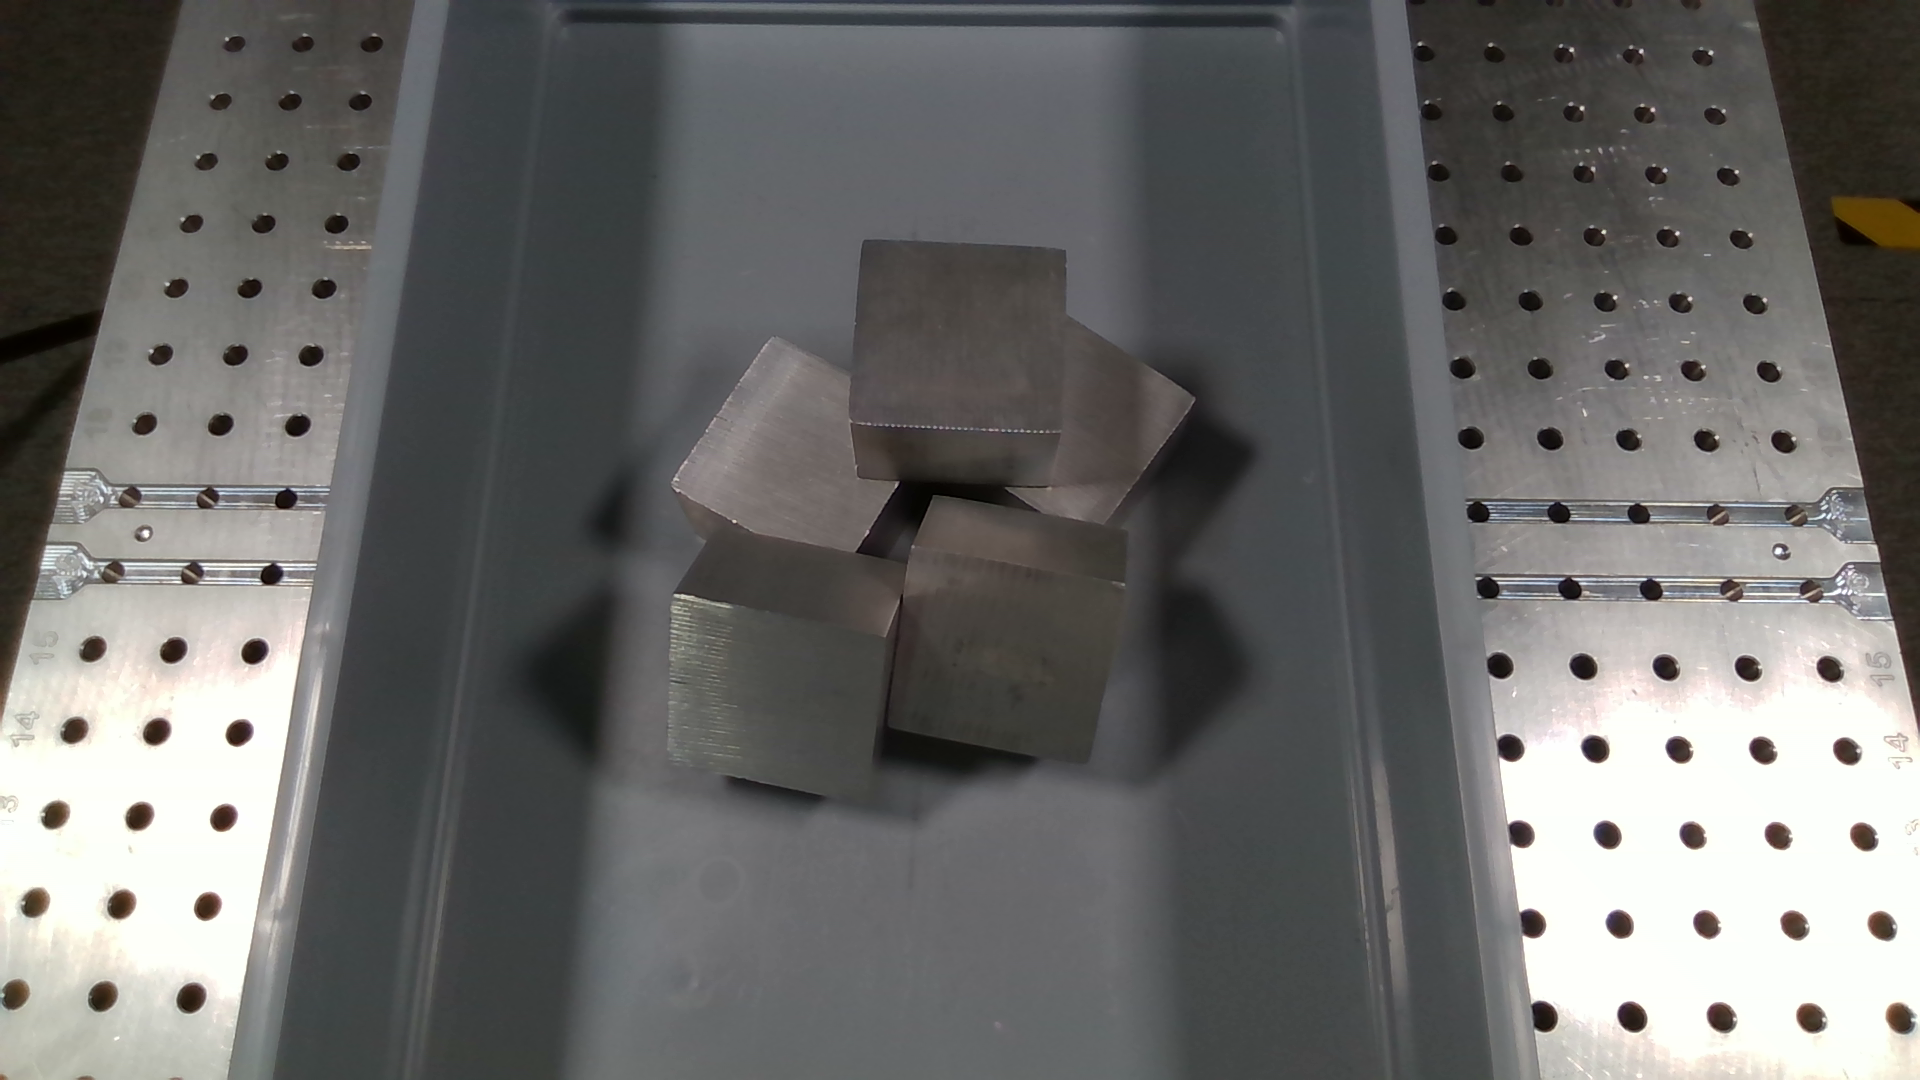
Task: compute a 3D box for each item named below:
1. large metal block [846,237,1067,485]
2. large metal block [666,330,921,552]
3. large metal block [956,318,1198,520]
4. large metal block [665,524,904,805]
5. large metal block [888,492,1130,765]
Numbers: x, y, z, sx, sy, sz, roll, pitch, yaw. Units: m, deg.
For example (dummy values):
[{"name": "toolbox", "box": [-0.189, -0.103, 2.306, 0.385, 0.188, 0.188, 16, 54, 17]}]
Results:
[{"name": "large metal block", "box": [-0.001, -0.069, 0.544, 0.080, 0.050, 0.080, 3, 69, 0]}, {"name": "large metal block", "box": [-0.063, -0.028, 0.581, 0.080, 0.050, 0.080, 28, 73, 10]}, {"name": "large metal block", "box": [0.043, -0.042, 0.589, 0.080, 0.050, 0.080, 34, 74, 11]}, {"name": "large metal block", "box": [-0.066, 0.048, 0.533, 0.080, 0.080, 0.050, 11, 31, 4]}, {"name": "large metal block", "box": [0.019, 0.034, 0.539, 0.080, 0.050, 0.080, 11, 116, 4]}]
